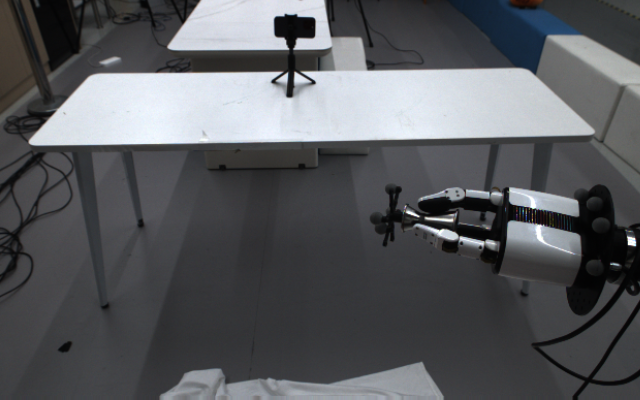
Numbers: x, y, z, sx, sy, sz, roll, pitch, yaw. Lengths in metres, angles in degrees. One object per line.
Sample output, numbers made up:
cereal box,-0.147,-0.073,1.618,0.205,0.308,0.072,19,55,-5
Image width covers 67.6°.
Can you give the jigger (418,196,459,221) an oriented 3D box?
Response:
jigger,0.152,0.022,0.638,0.071,0.043,0.043,7,34,21
